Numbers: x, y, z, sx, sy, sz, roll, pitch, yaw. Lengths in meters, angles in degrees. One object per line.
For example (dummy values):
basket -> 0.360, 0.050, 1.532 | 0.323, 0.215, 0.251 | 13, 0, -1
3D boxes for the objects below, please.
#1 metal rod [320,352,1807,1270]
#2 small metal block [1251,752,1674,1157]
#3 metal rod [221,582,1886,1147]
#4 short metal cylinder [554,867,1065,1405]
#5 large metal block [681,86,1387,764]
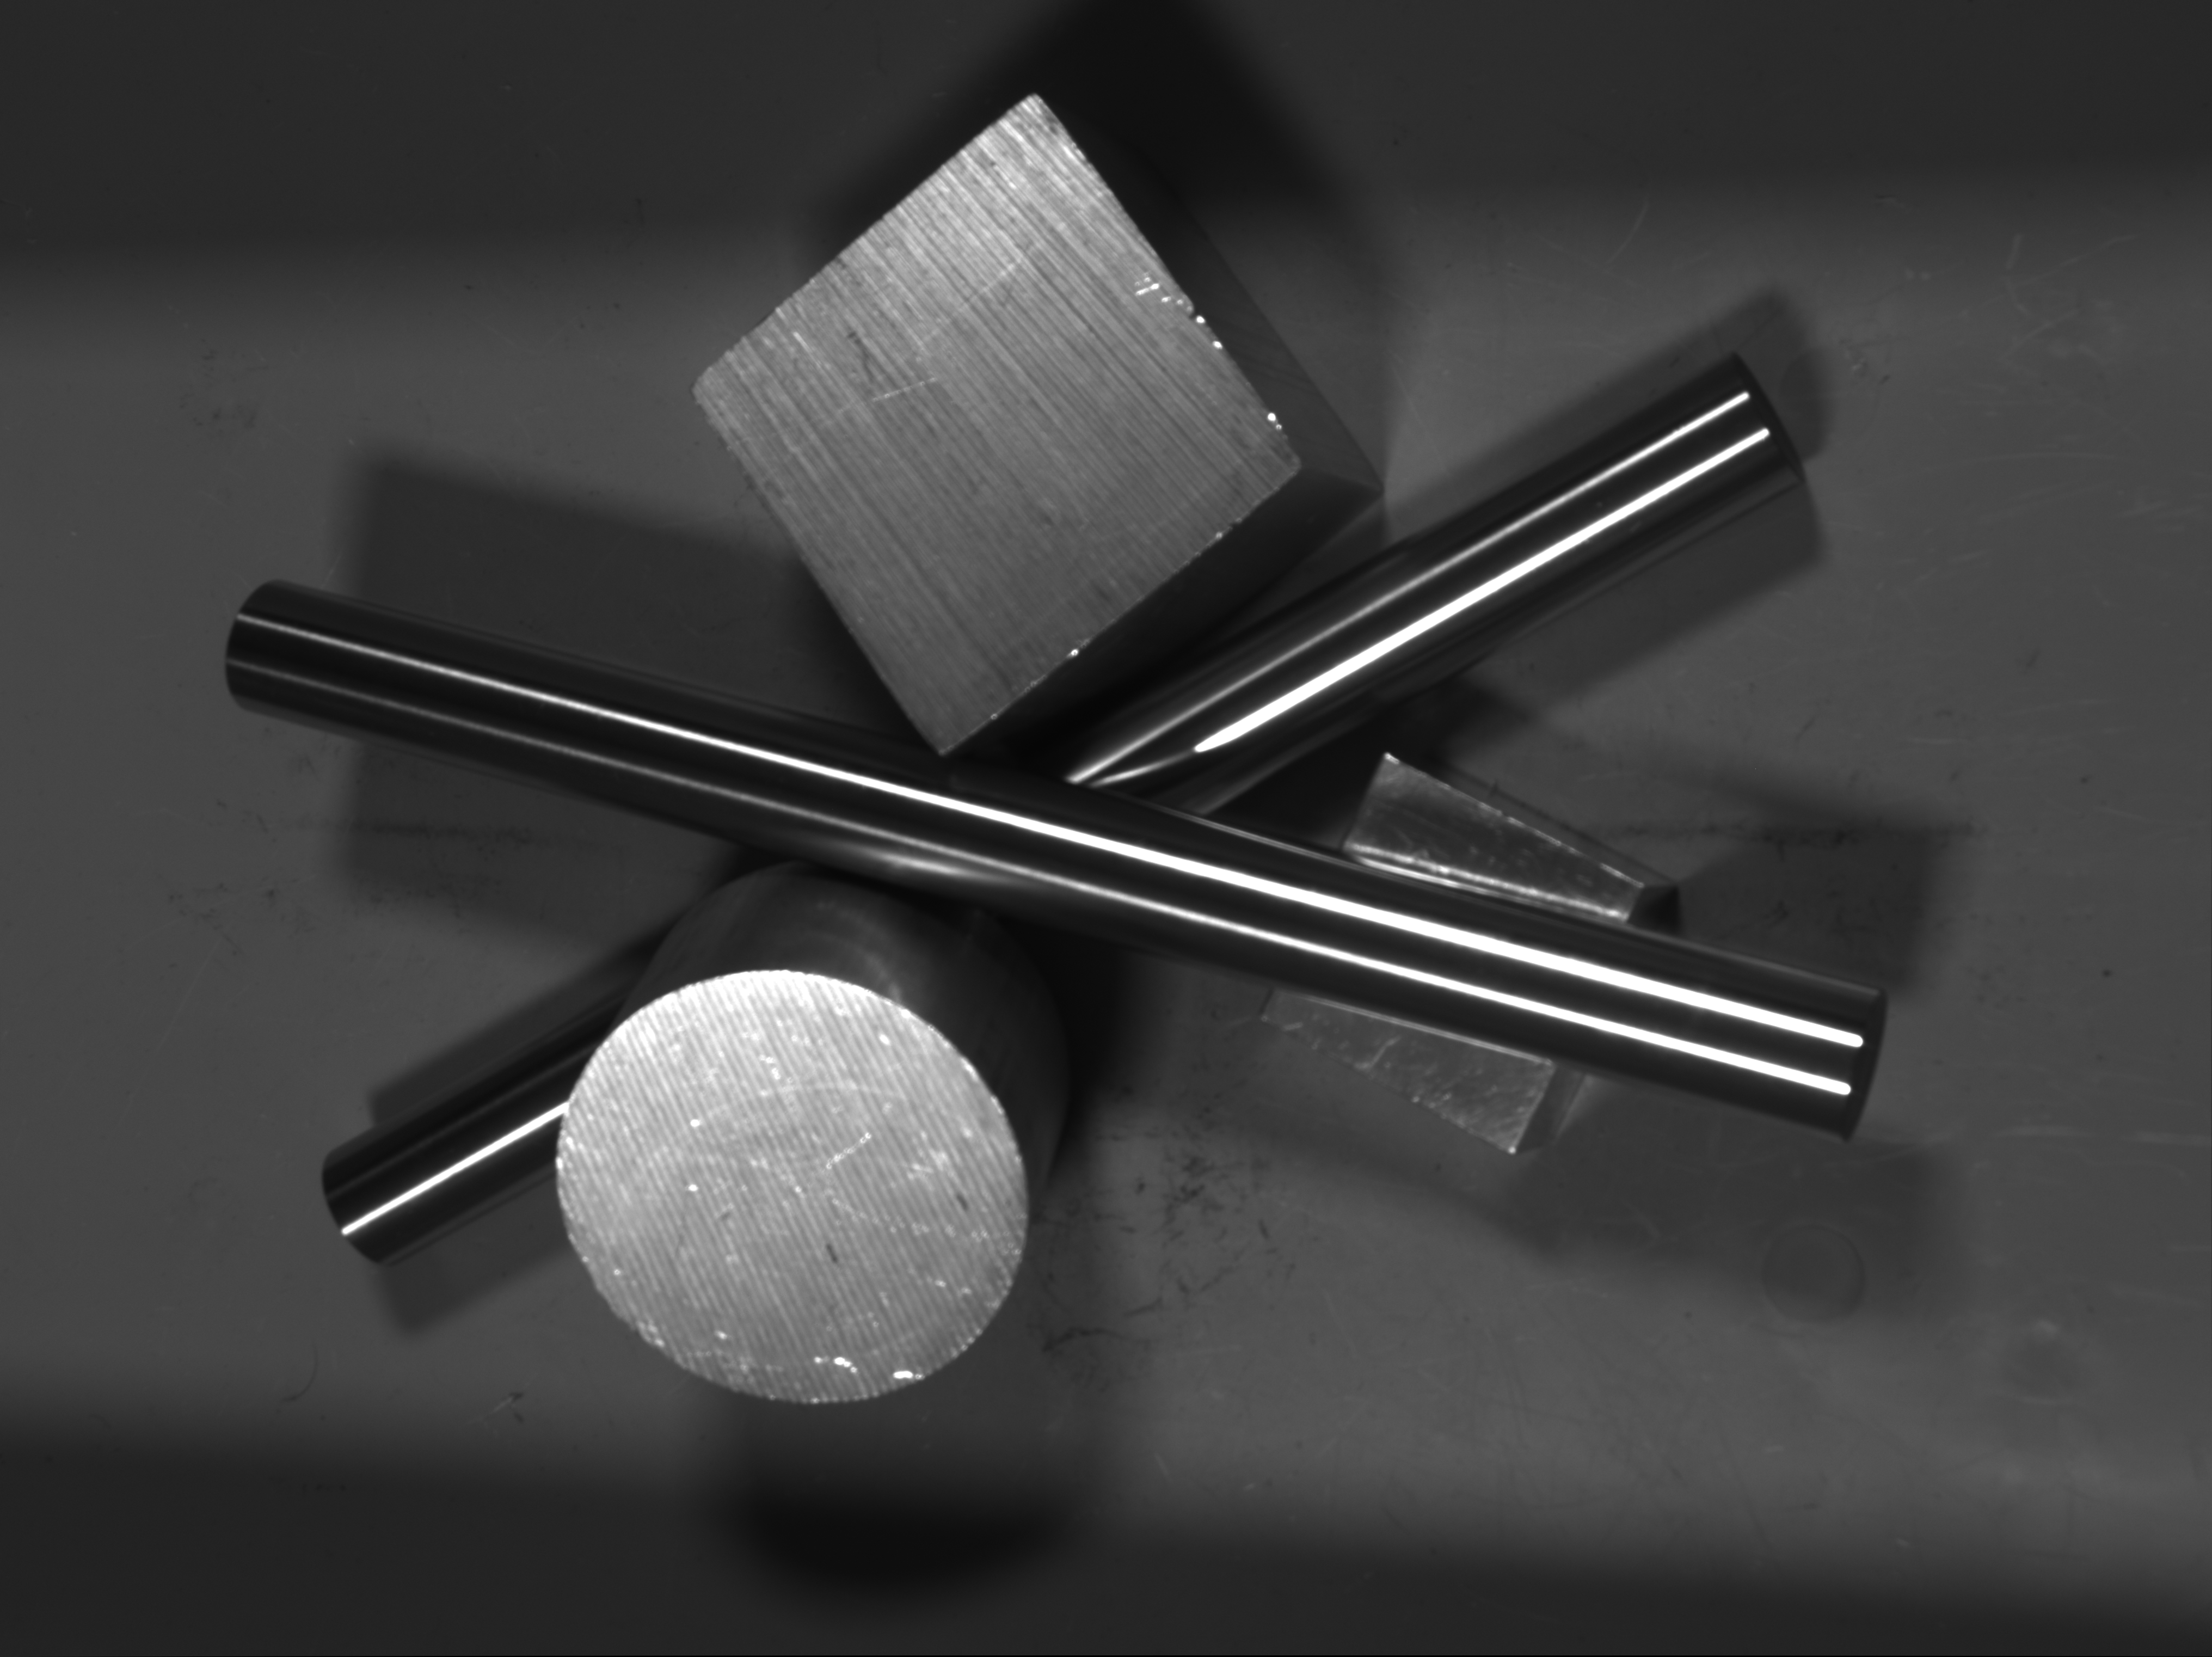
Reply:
metal rod -> -0.015, 0.002, 0.648 | 0.300, 0.025, 0.025 | -29, 80, 17
small metal block -> 0.060, 0.021, 0.620 | 0.050, 0.025, 0.050 | 28, 99, 18
metal rod -> -0.018, 0.002, 0.623 | 0.299, 0.025, 0.025 | 15, 95, 19
short metal cylinder -> -0.050, 0.052, 0.632 | 0.080, 0.050, 0.080 | 3, 111, 7
large metal block -> -0.012, -0.067, 0.634 | 0.080, 0.050, 0.080 | -38, 78, 16
